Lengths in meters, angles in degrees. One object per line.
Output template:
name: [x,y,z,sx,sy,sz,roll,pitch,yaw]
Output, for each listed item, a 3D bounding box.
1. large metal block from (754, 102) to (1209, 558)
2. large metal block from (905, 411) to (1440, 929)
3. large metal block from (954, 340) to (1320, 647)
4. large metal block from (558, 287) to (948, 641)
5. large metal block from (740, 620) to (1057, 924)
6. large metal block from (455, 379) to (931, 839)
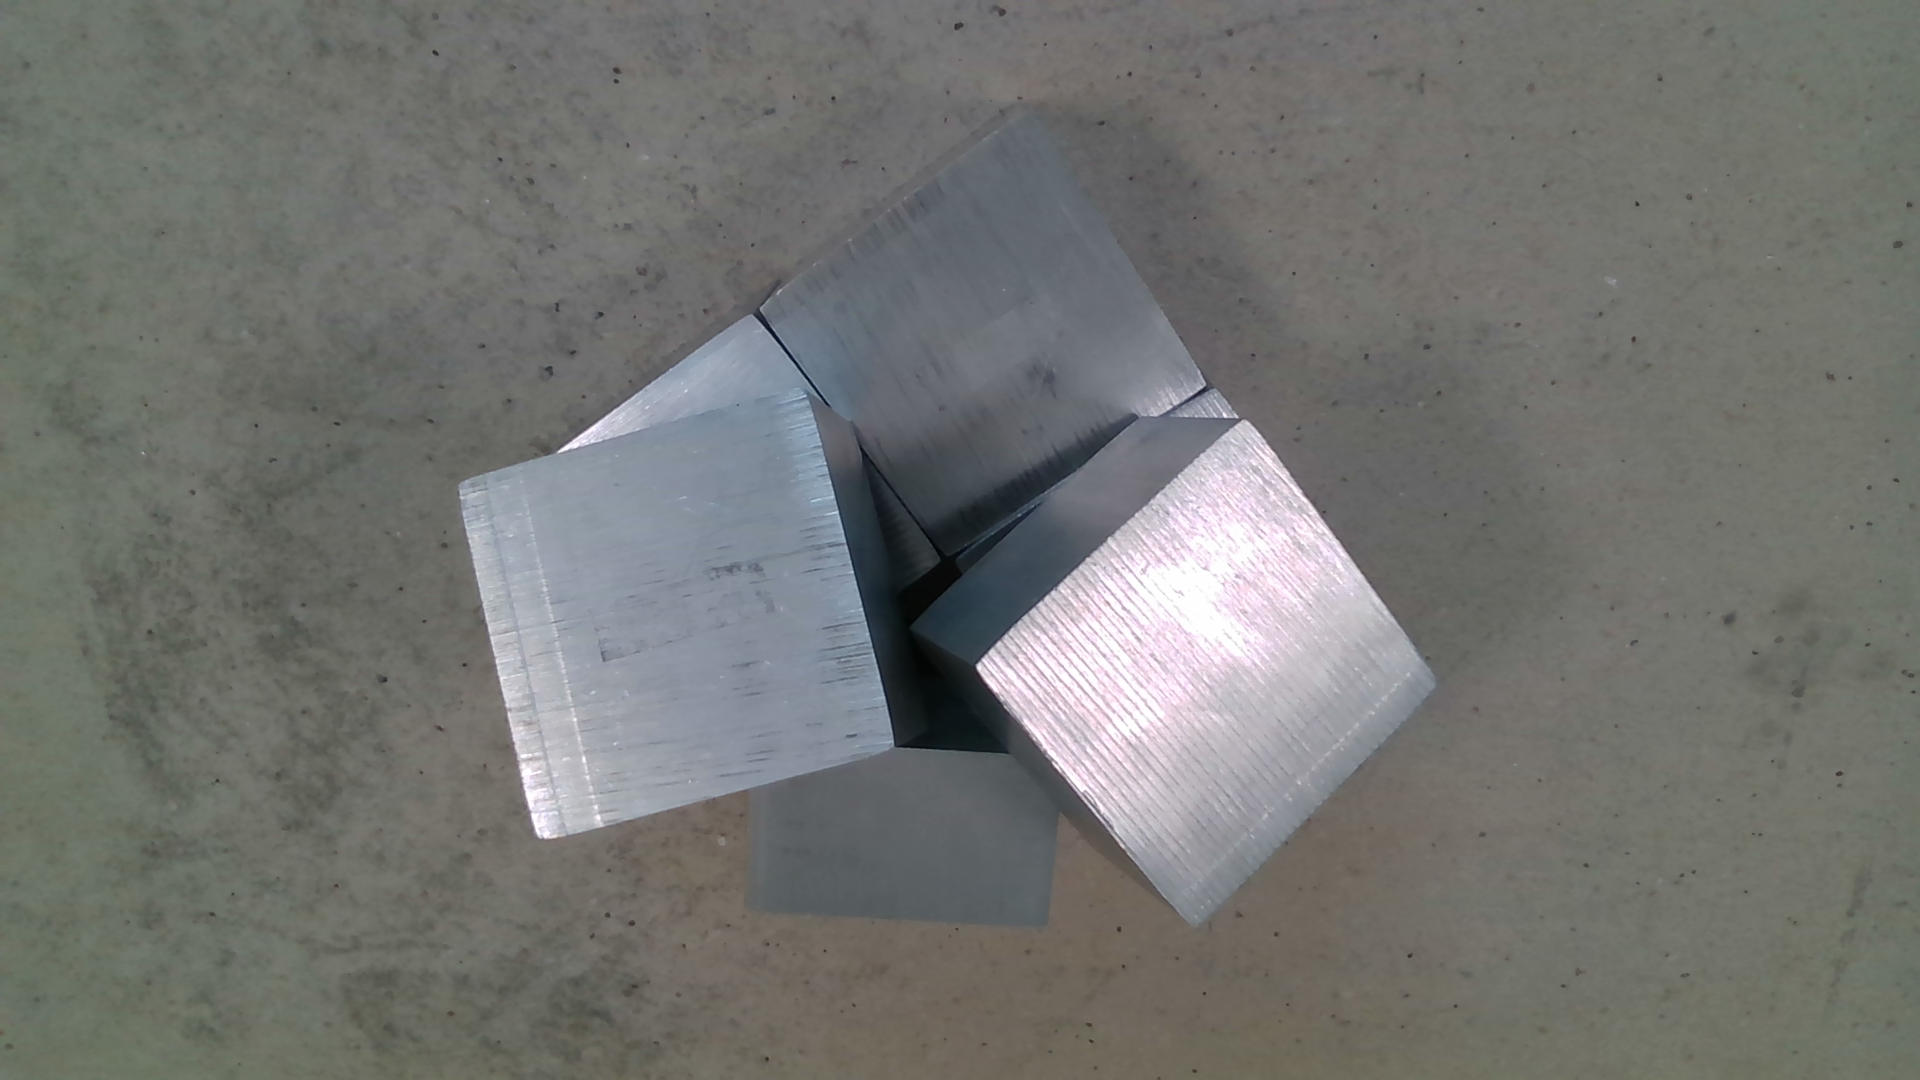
large metal block: [0.006,-0.056,0.361,0.080,0.050,0.080,-34,107,12]
large metal block: [0.048,0.027,0.320,0.080,0.050,0.080,-42,106,-10]
large metal block: [0.054,0.005,0.381,0.080,0.050,0.080,-34,108,11]
large metal block: [-0.059,-0.013,0.377,0.080,0.050,0.080,-34,107,11]
large metal block: [-0.016,0.061,0.387,0.080,0.080,0.050,3,110,-1]
large metal block: [-0.059,0.016,0.318,0.080,0.050,0.080,-15,85,6]
